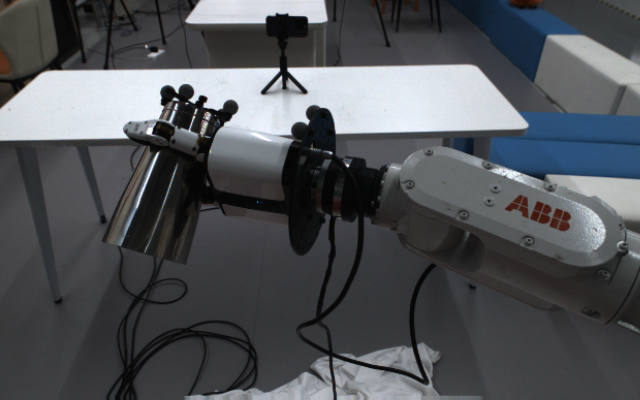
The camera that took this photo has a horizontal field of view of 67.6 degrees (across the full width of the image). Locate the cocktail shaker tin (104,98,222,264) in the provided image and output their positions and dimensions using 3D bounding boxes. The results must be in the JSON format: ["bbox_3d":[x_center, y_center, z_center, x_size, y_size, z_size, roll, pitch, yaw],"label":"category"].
[{"bbox_3d":[-0.168,-0.023,0.548,0.093,0.093,0.170,13,77,15],"label":"cocktail shaker tin"}]
